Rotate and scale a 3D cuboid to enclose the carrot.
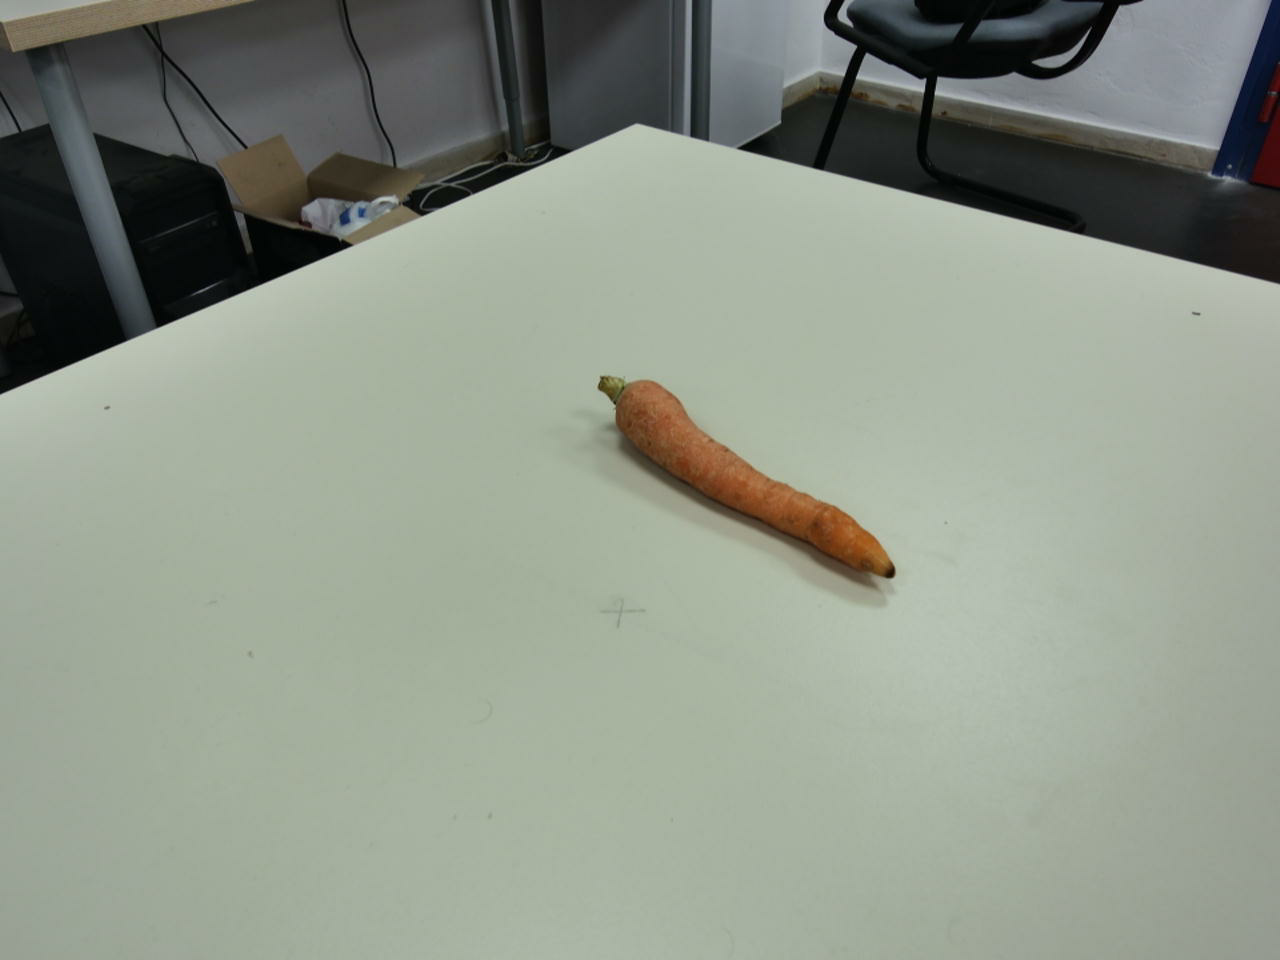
[{"bbox_3d":[0.042,-0.004,0.447,0.030,0.032,0.173,-27,44,-31],"label":"carrot"}]
